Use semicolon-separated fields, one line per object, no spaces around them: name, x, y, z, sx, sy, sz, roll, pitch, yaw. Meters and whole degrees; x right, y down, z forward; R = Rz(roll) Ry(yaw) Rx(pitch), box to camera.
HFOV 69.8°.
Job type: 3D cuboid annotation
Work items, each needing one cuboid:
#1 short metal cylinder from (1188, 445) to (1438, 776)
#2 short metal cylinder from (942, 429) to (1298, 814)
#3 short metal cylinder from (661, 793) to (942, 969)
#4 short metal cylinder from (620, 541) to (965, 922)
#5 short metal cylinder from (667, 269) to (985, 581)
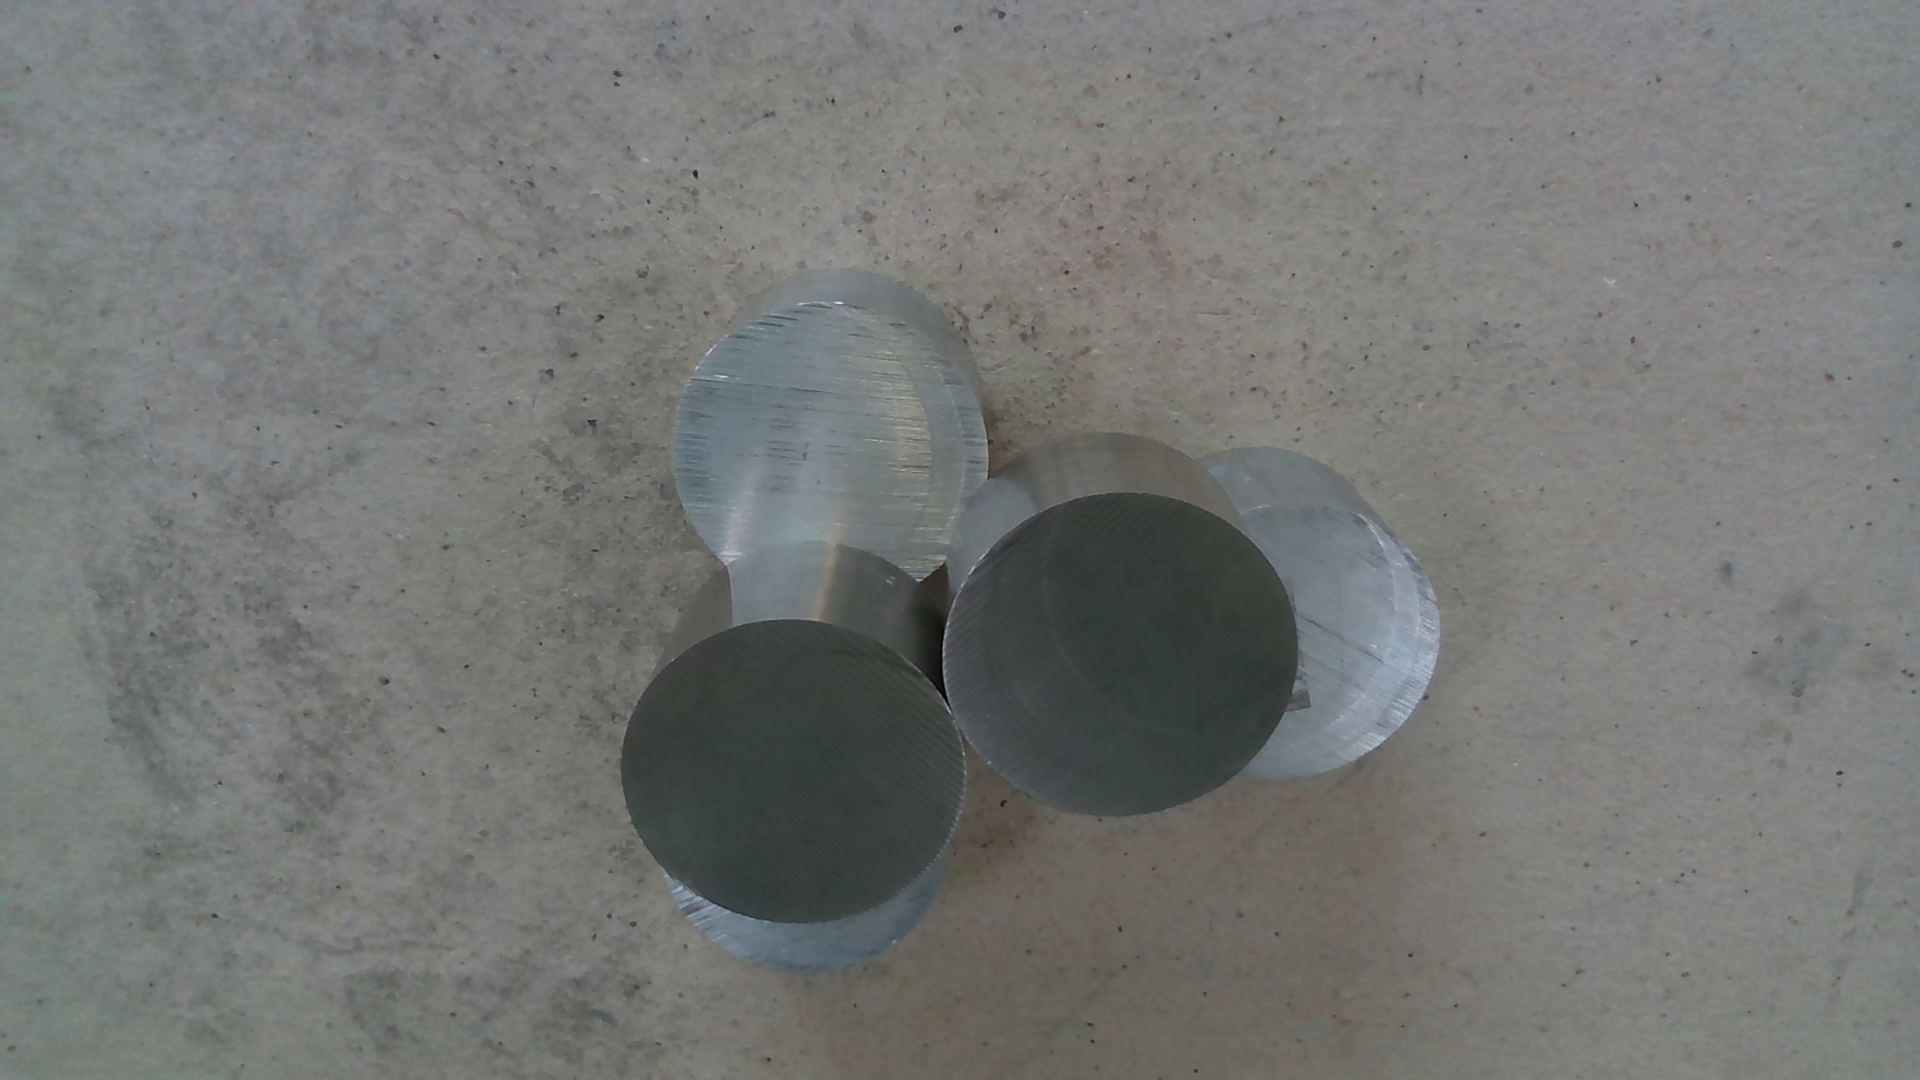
short metal cylinder;0.086;0.019;0.388;0.080;0.050;0.080;0;110;0
short metal cylinder;0.036;0.018;0.333;0.080;0.050;0.080;0;110;0
short metal cylinder;-0.045;0.078;0.409;0.080;0.050;0.080;0;110;0
short metal cylinder;-0.039;0.047;0.343;0.080;0.050;0.080;0;111;0
short metal cylinder;-0.034;-0.030;0.369;0.080;0.050;0.080;0;110;0
